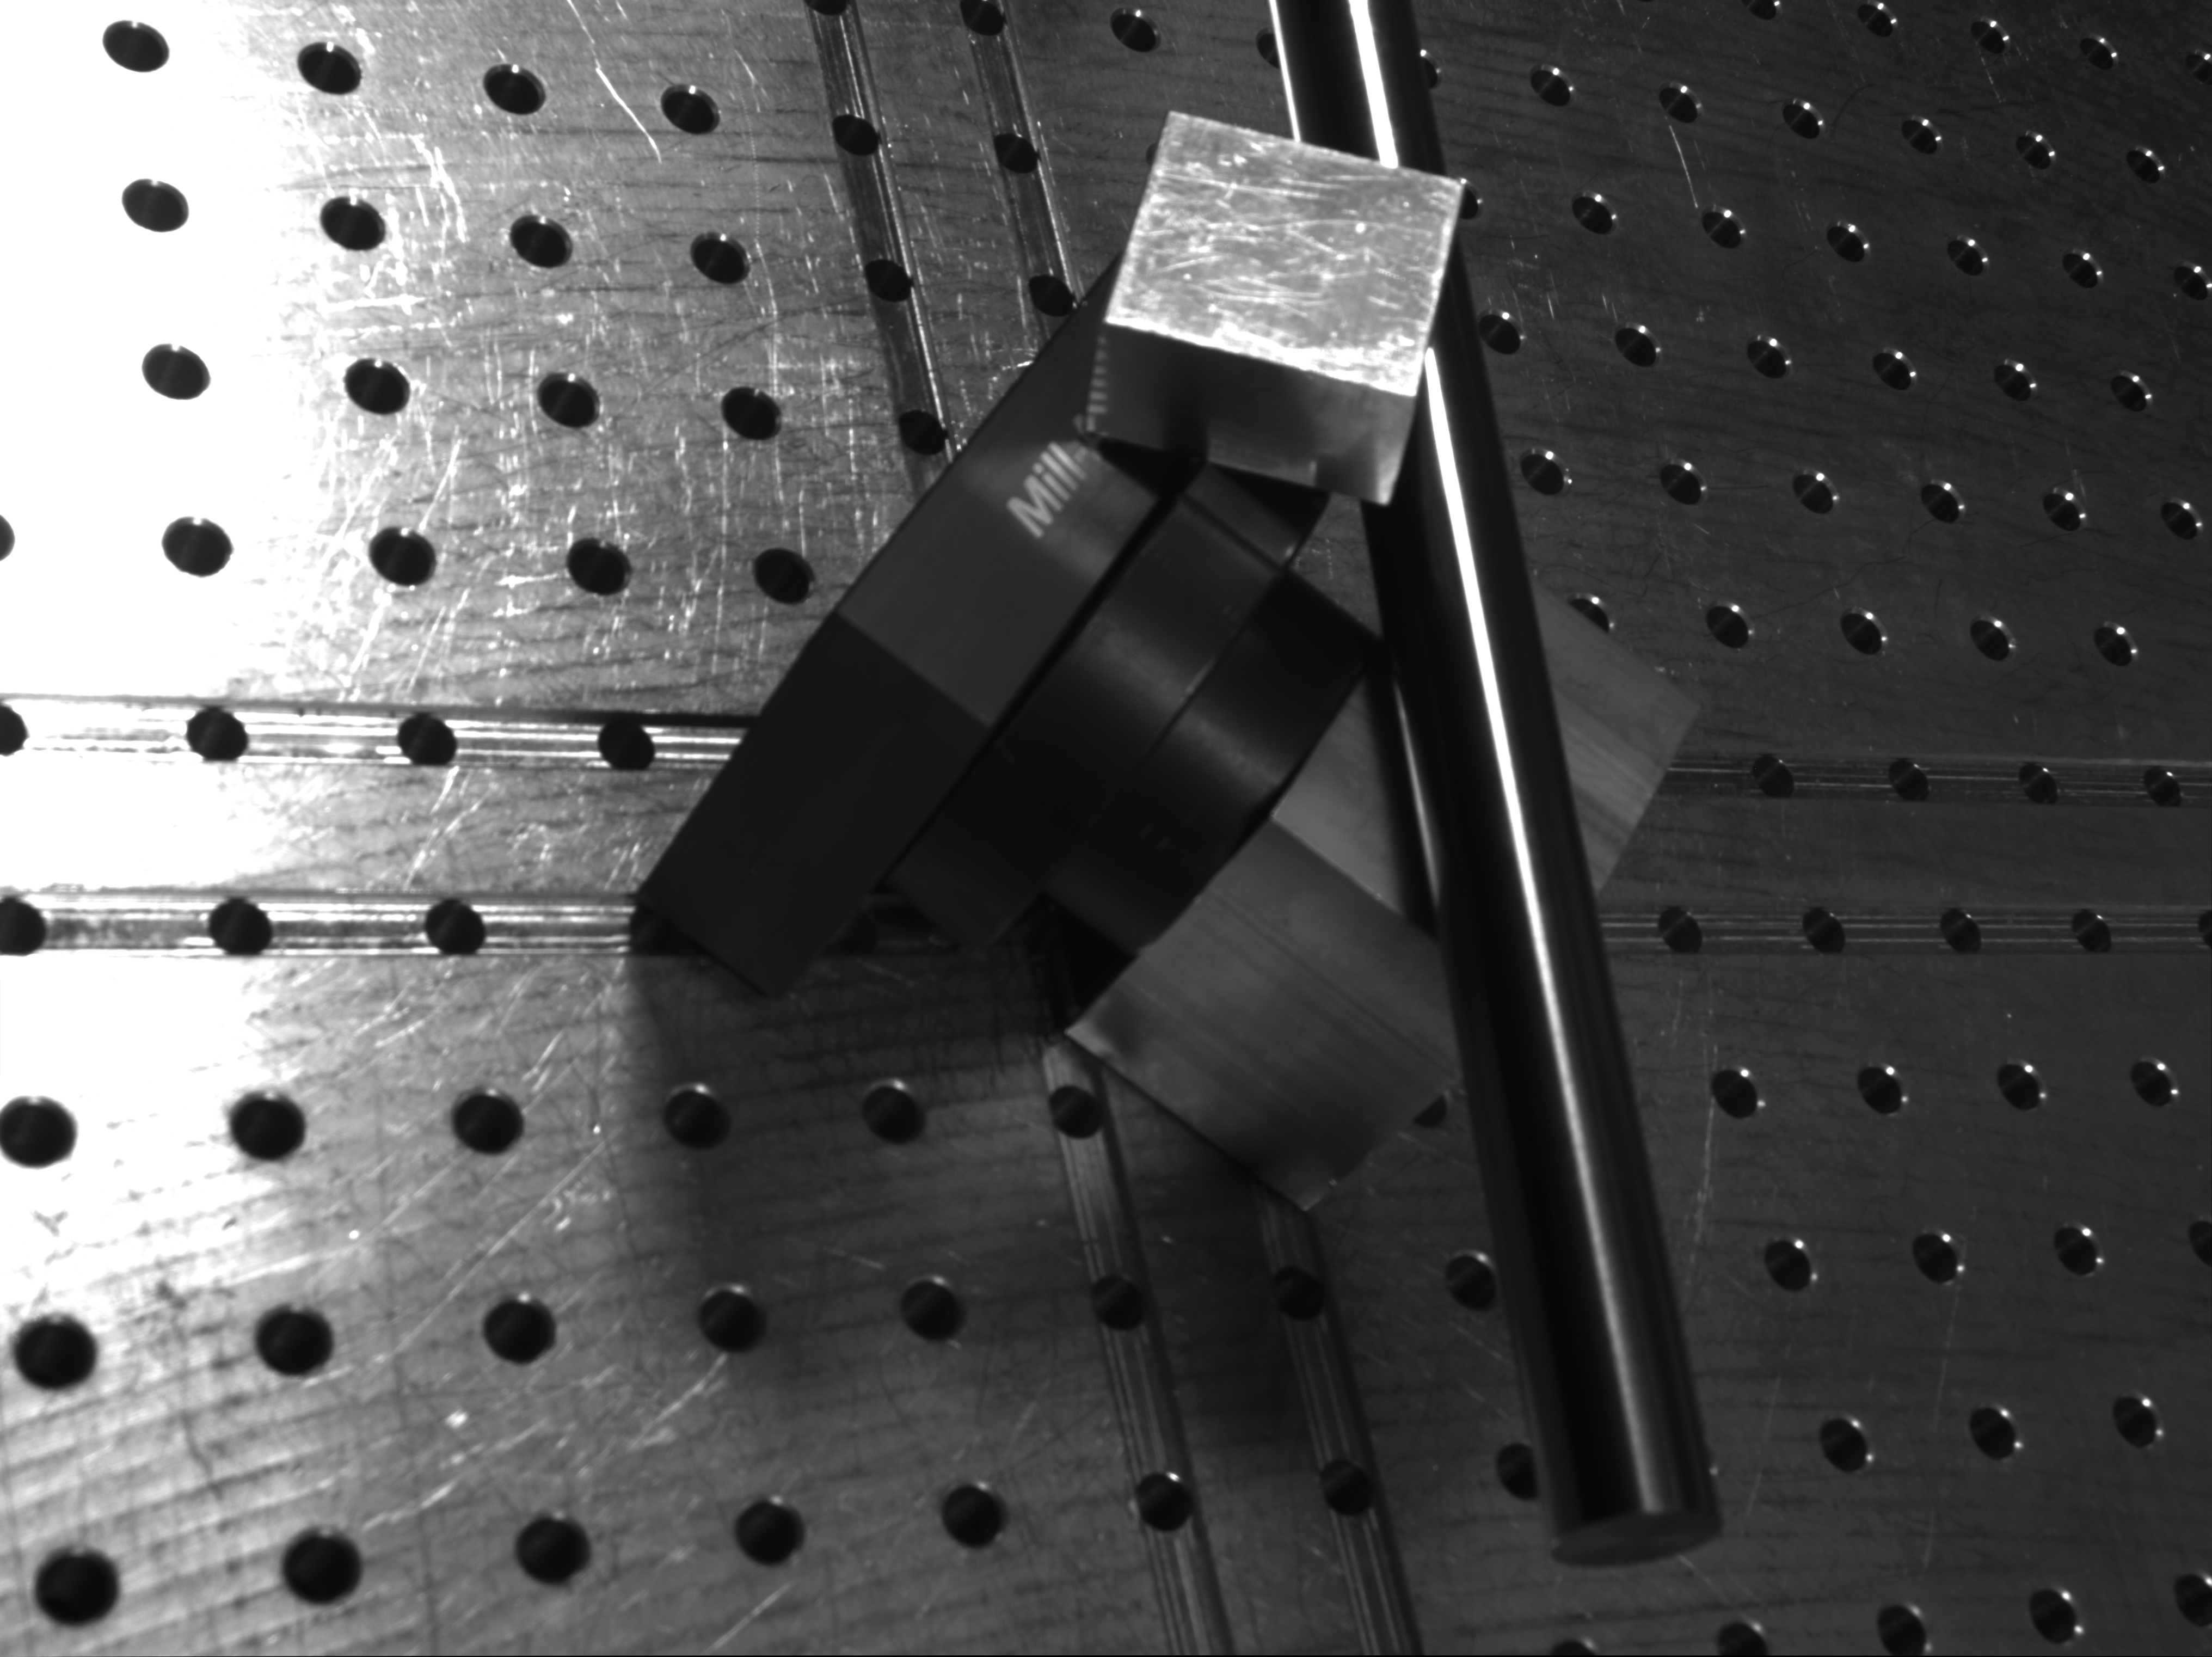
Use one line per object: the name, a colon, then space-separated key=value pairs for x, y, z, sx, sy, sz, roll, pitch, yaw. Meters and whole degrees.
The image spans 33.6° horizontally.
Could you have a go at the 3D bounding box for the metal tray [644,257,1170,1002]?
metal tray: x=-0.020 y=-0.041 z=0.615 sx=0.030 sy=0.090 sz=0.130 roll=37 pitch=51 yaw=-3

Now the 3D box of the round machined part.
round machined part: x=0.006 y=-0.018 z=0.615 sx=0.042 sy=0.098 sz=0.098 roll=36 pitch=51 yaw=-4

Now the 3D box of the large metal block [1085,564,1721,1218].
large metal block: x=0.050 y=0.008 z=0.626 sx=0.050 sy=0.080 sz=0.080 roll=37 pitch=51 yaw=-3

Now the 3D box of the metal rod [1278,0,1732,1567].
metal rod: x=0.059 y=-0.030 z=0.590 sx=0.025 sy=0.025 sz=0.300 roll=7 pitch=59 yaw=-25

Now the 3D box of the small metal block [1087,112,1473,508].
small metal block: x=0.028 y=-0.083 z=0.583 sx=0.050 sy=0.025 sz=0.050 roll=14 pitch=52 yaw=2
